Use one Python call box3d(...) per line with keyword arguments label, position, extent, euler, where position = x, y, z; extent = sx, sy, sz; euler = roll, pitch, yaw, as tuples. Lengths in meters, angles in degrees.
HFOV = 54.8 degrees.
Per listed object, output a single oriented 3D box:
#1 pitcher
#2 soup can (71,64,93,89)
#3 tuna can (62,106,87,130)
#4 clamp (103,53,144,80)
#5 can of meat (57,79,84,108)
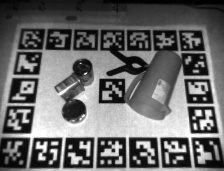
box3d(label="pitcher", position=(0.160, 0.008, 0.783), extent=(0.186, 0.135, 0.243), euler=(12, 62, 27))
box3d(label="soup can", position=(-0.110, -0.032, 0.814), extent=(0.068, 0.102, 0.068), euler=(-1, 73, 3))
box3d(label="tuna can", position=(-0.136, 0.121, 0.796), extent=(0.086, 0.034, 0.085), euler=(0, 73, 0))
box3d(label="clamp", position=(0.047, -0.075, 0.874), extent=(0.165, 0.036, 0.121), euler=(2, 67, -3))
box3d(label="can of meat", position=(-0.156, 0.032, 0.787), extent=(0.084, 0.102, 0.057), euler=(-36, 75, -8))
